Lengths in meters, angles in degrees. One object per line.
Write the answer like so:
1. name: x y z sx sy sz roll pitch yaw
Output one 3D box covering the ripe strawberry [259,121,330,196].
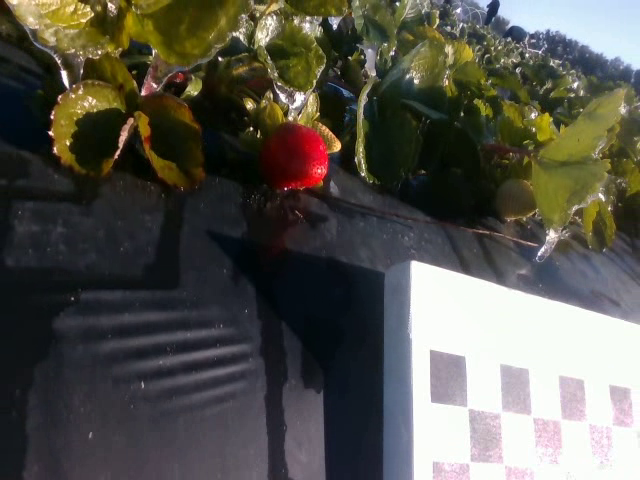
1. ripe strawberry: -0.005 -0.030 0.244 0.039 0.040 0.039 1 10 -24
